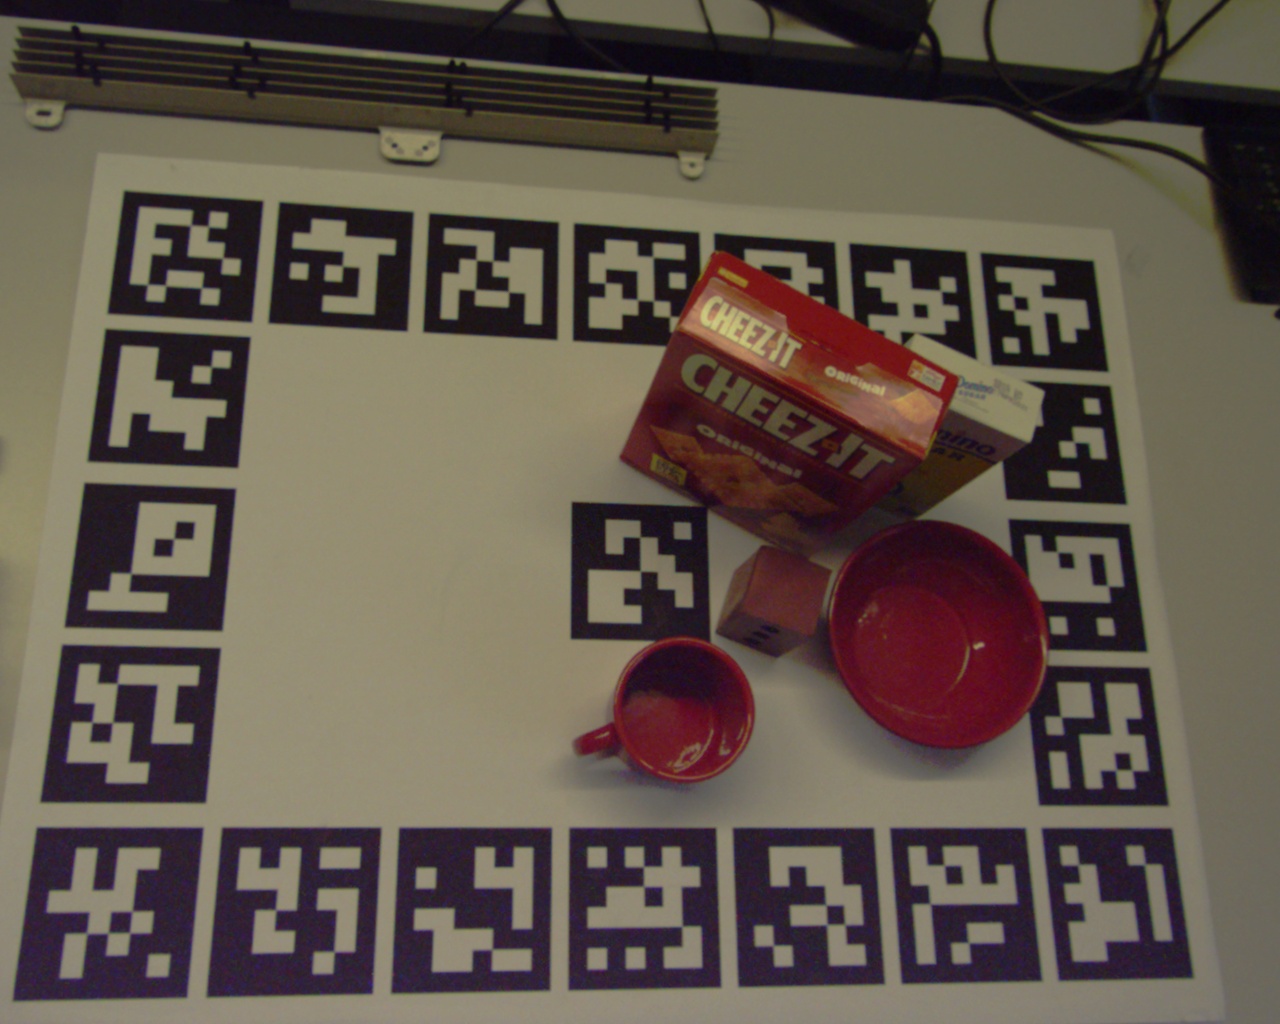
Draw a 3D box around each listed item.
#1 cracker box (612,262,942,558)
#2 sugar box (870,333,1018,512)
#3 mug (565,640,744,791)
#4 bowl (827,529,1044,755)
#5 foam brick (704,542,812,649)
[{"bbox_3d":[0.081,-0.055,0.787,0.164,0.214,0.072,31,69,0],"label":"cracker box"},{"bbox_3d":[0.187,-0.058,0.822,0.093,0.177,0.045,23,71,-2],"label":"sugar box"},{"bbox_3d":[0.006,0.146,0.780,0.117,0.081,0.094,-7,67,-9],"label":"mug"},{"bbox_3d":[0.206,0.097,0.832,0.161,0.055,0.162,2,74,-8],"label":"bowl"},{"bbox_3d":[0.085,0.062,0.828,0.052,0.078,0.051,17,71,-3],"label":"foam brick"}]
